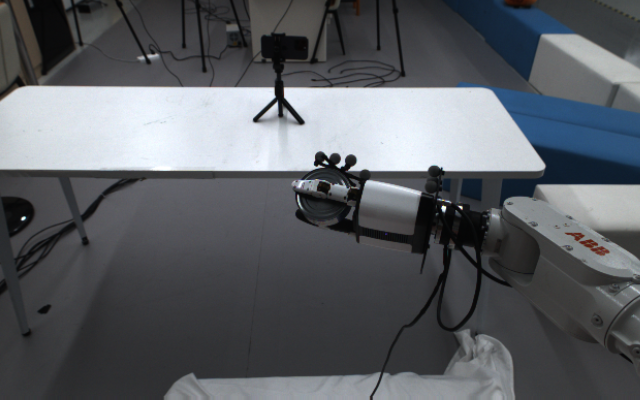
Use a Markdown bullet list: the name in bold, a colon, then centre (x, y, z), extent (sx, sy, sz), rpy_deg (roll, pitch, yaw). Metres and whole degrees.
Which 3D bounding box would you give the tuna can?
- **tuna can**: centre (0.008, -0.006, 0.741), extent (0.085, 0.034, 0.085), rpy_deg (-4, 67, 10)
